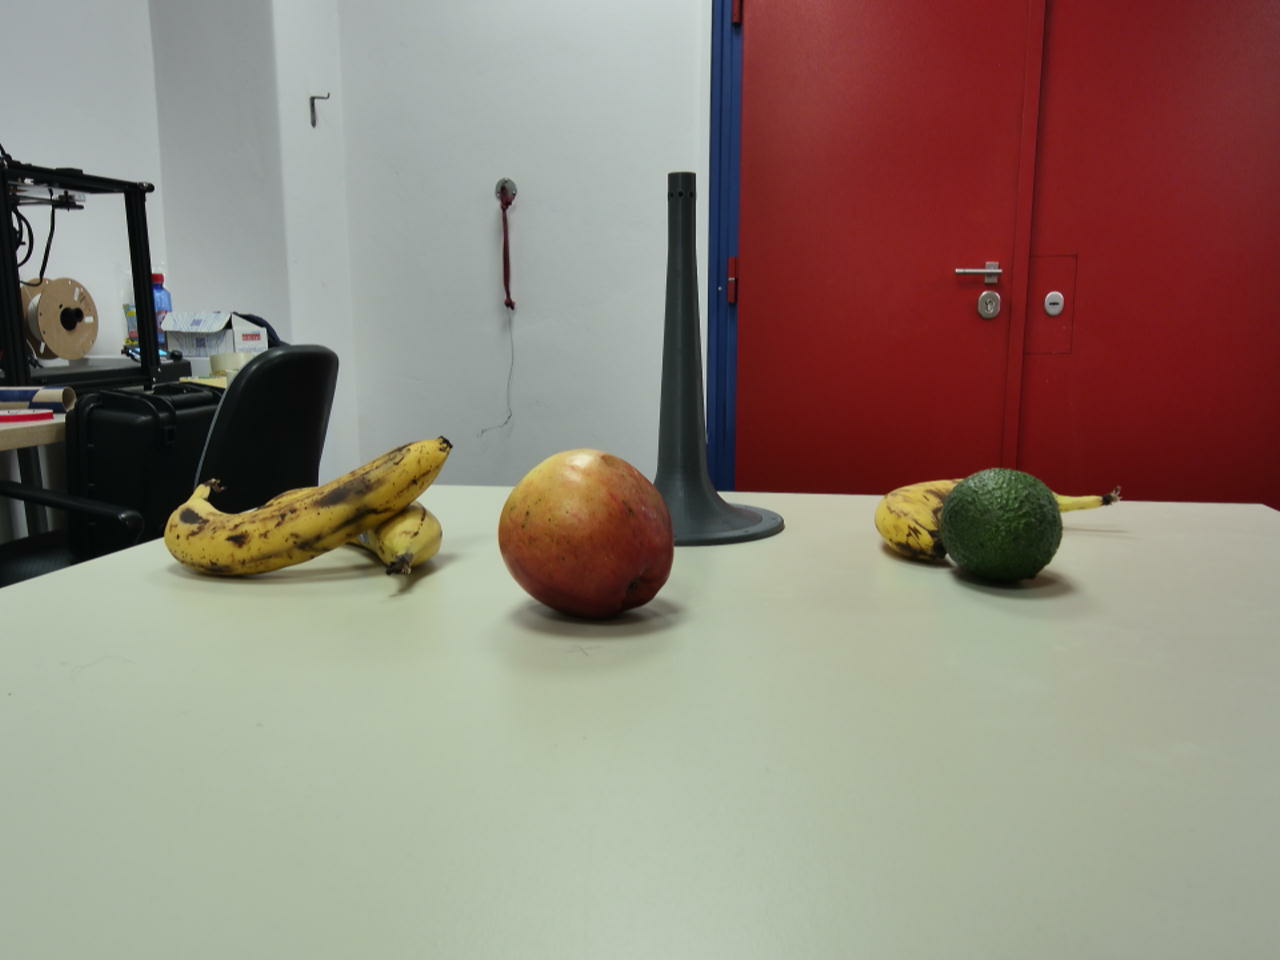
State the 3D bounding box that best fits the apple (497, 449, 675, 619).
[{"bbox_3d":[-0.029,0.026,0.516,0.086,0.084,0.093,-4,7,-24],"label":"apple"}]
